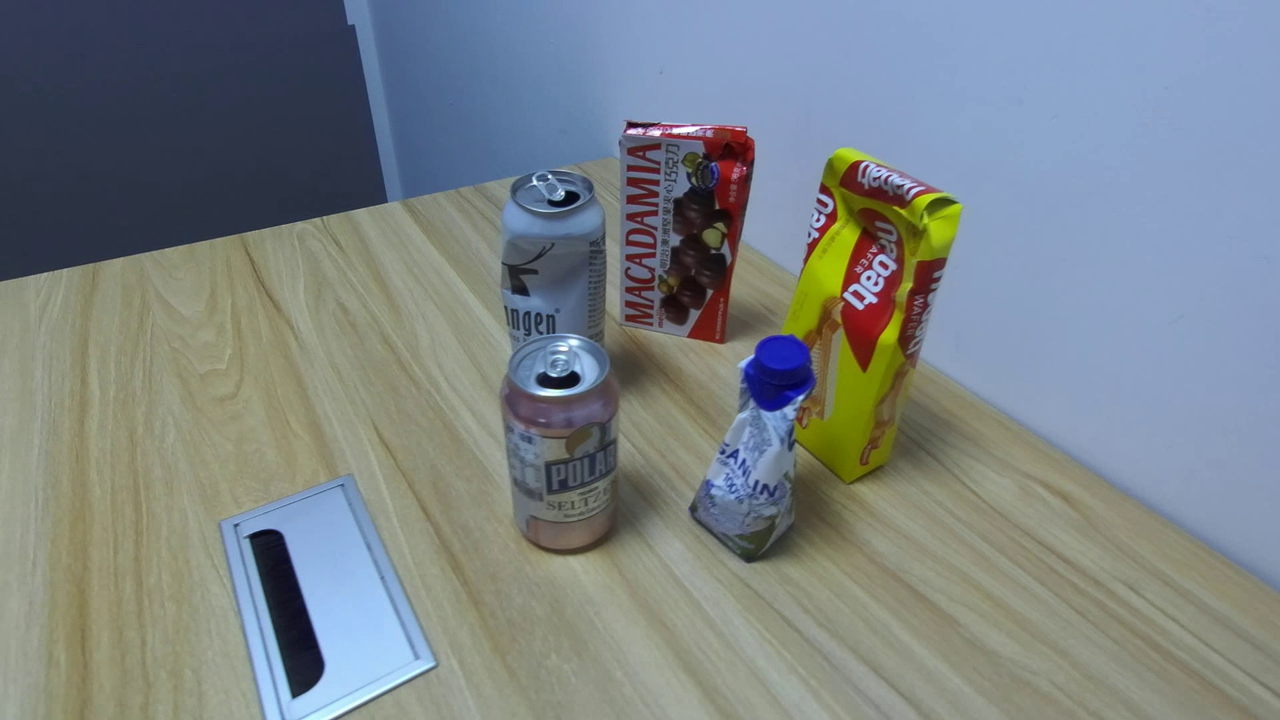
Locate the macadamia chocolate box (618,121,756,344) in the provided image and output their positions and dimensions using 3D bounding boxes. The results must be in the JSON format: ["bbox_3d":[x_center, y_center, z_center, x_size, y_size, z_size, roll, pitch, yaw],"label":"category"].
[{"bbox_3d":[0.034,-0.099,0.563,0.102,0.187,0.027,12,42,13],"label":"macadamia chocolate box"}]

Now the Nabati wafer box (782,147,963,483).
[{"bbox_3d":[0.137,-0.024,0.458,0.043,0.205,0.113,-19,40,-28],"label":"Nabati wafer box"}]

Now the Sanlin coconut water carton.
[{"bbox_3d":[0.080,0.048,0.414,0.056,0.144,0.069,37,40,27],"label":"Sanlin coconut water carton"}]

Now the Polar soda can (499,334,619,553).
[{"bbox_3d":[-0.046,0.050,0.418,0.067,0.126,0.067,2,38,-1],"label":"Polar soda can"}]

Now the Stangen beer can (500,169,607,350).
[{"bbox_3d":[-0.059,-0.046,0.502,0.070,0.173,0.070,-25,45,-30],"label":"Stangen beer can"}]
